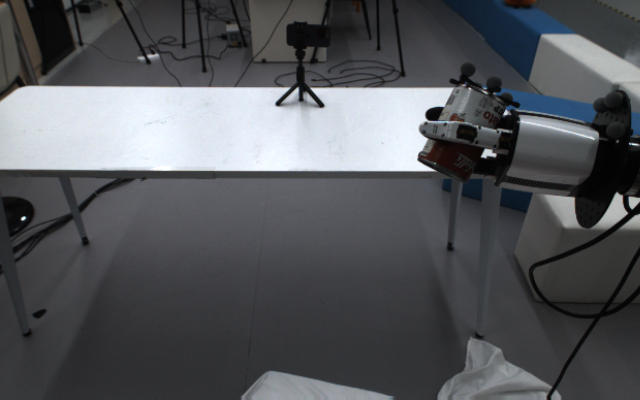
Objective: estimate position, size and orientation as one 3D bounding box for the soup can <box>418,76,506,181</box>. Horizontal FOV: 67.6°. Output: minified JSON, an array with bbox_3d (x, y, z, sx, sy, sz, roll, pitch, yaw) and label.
[{"bbox_3d":[0.173,-0.080,0.587,0.067,0.101,0.067,26,5,-2],"label":"soup can"}]
